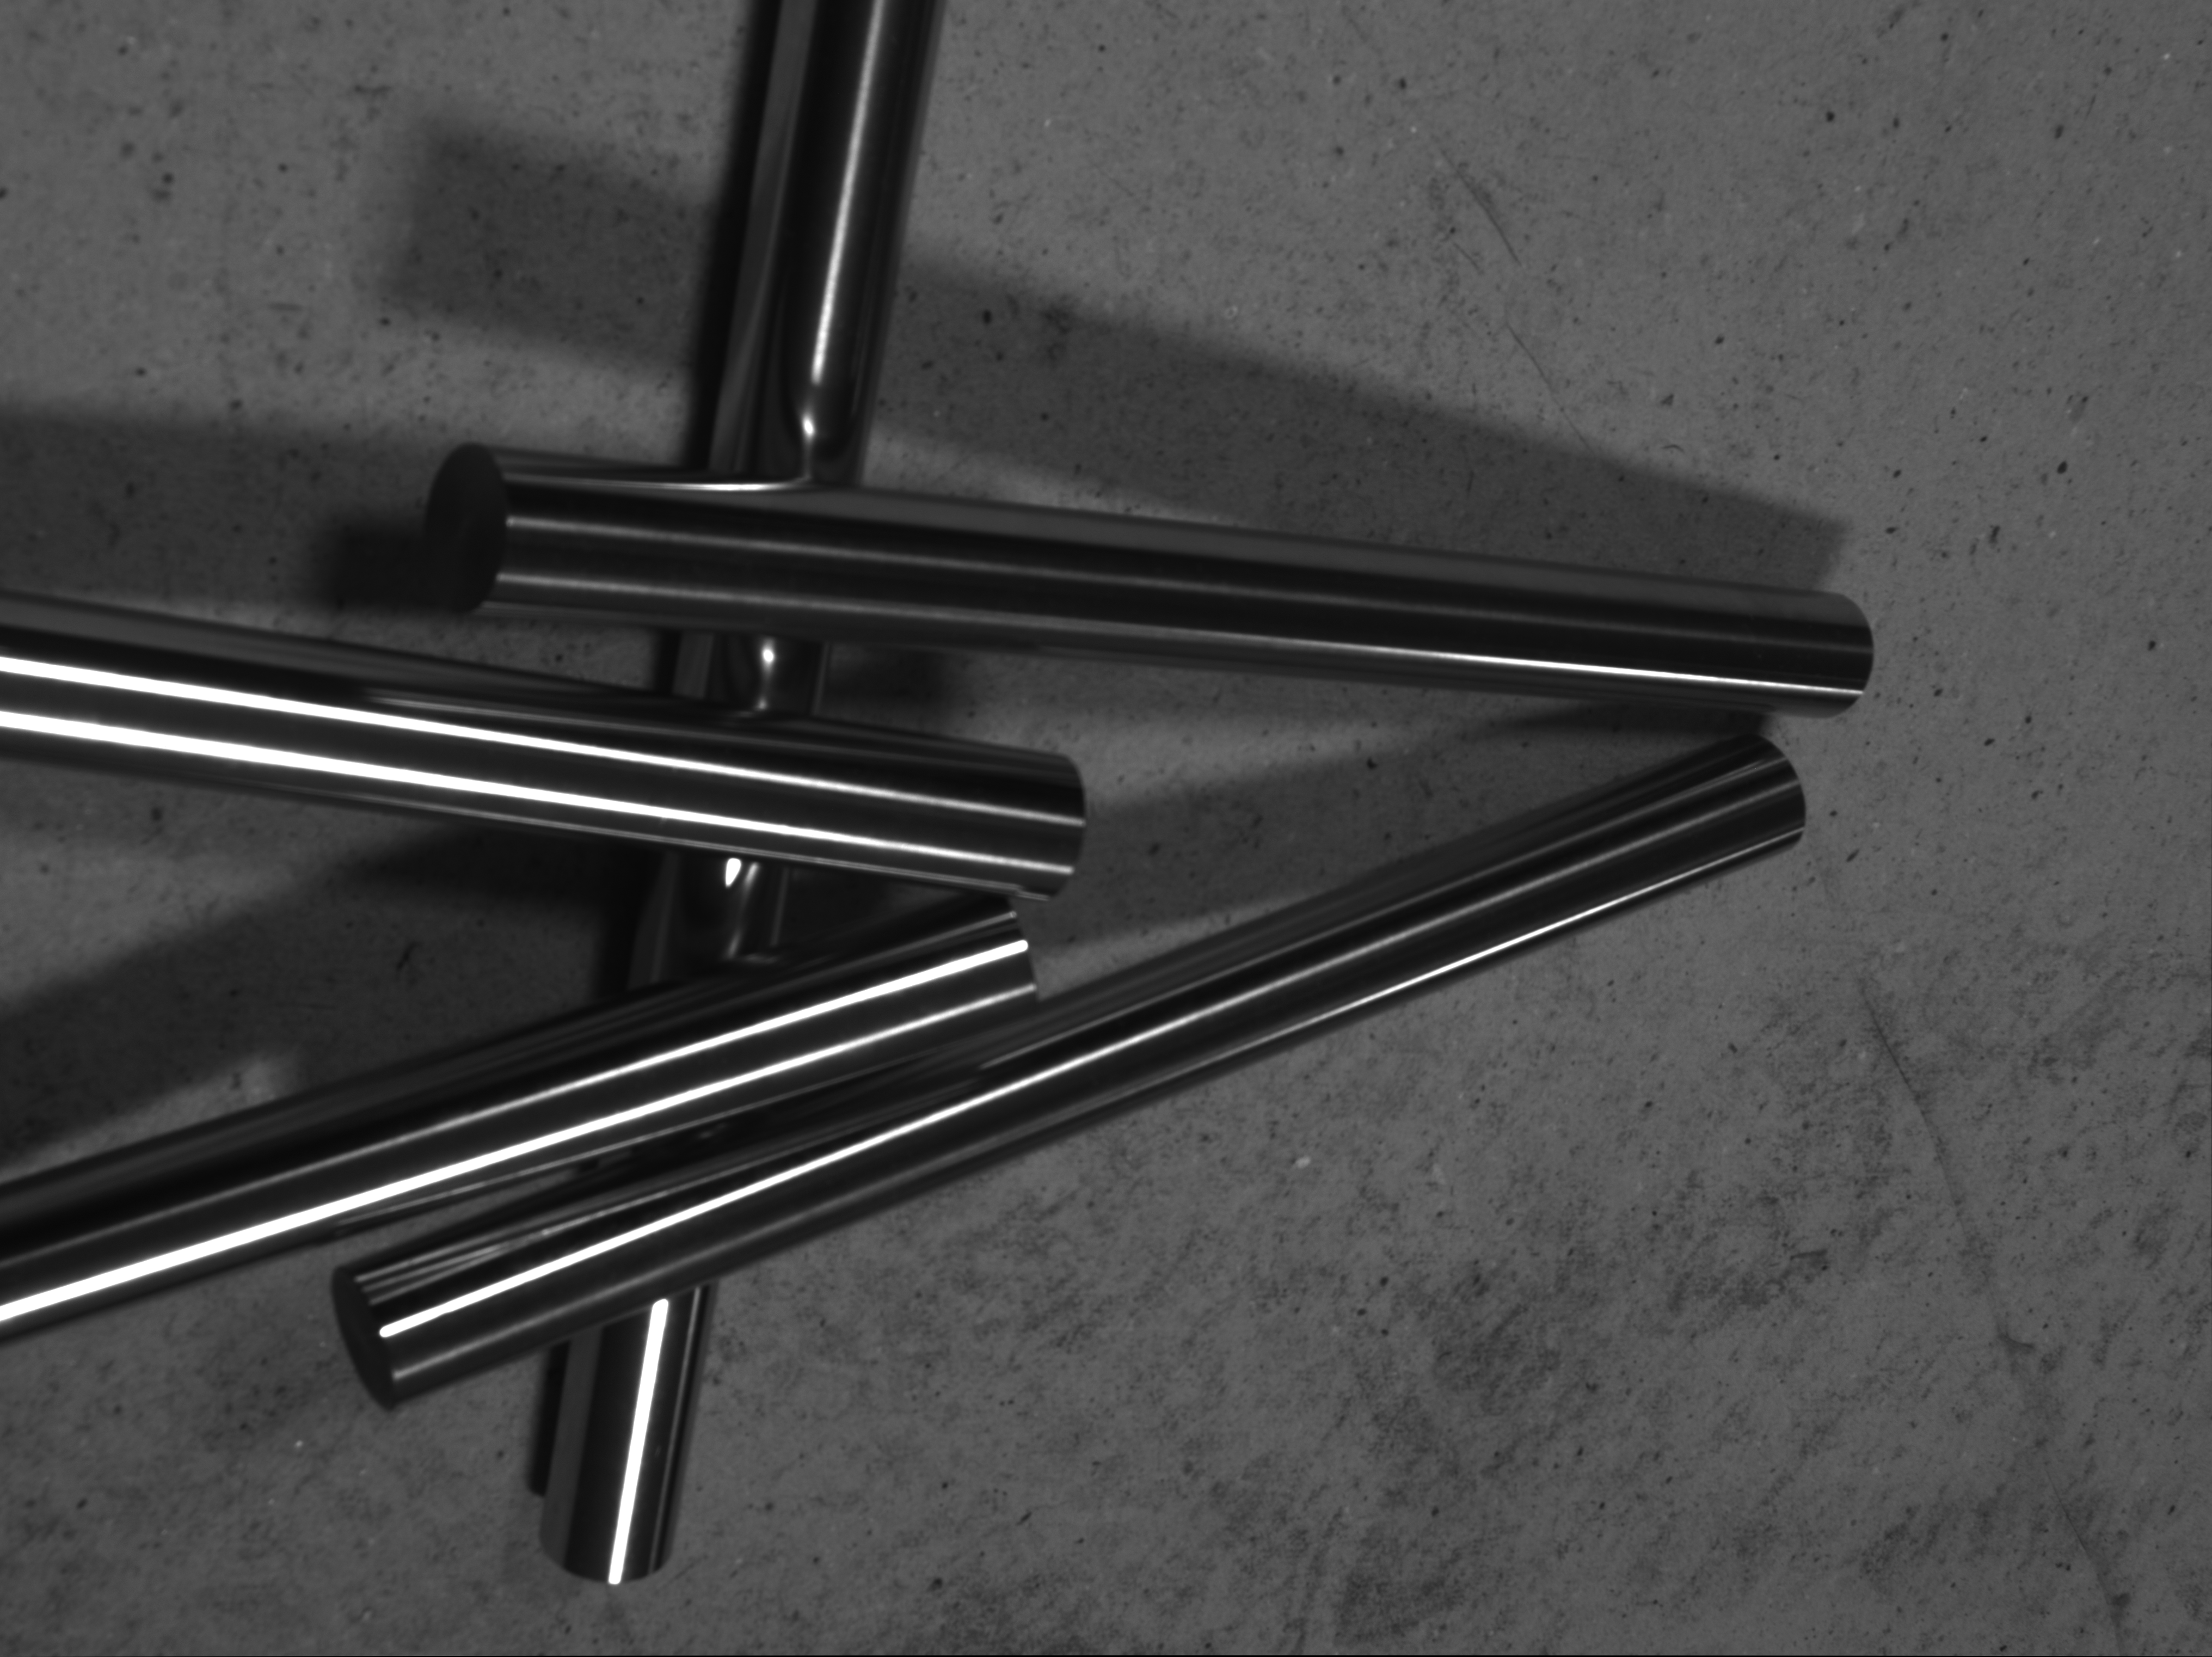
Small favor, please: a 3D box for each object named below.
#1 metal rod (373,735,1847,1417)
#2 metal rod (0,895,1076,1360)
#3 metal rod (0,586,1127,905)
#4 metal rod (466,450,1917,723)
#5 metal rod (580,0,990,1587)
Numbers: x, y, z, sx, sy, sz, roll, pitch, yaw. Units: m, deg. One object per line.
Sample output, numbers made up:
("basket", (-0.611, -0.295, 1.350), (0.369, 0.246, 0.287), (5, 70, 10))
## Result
("metal rod", (0.013, 0.039, 0.661), (0.301, 0.025, 0.025), (-20, 127, -27))
("metal rod", (-0.149, 0.063, 0.585), (0.300, 0.025, 0.025), (-17, 126, -14))
("metal rod", (-0.134, -0.019, 0.542), (0.301, 0.025, 0.025), (8, 114, -28))
("metal rod", (0.031, -0.038, 0.625), (0.301, 0.025, 0.025), (2, 117, -38))
("metal rod", (-0.057, 0.001, 0.618), (0.025, 0.025, 0.300), (-3, 120, -29))
